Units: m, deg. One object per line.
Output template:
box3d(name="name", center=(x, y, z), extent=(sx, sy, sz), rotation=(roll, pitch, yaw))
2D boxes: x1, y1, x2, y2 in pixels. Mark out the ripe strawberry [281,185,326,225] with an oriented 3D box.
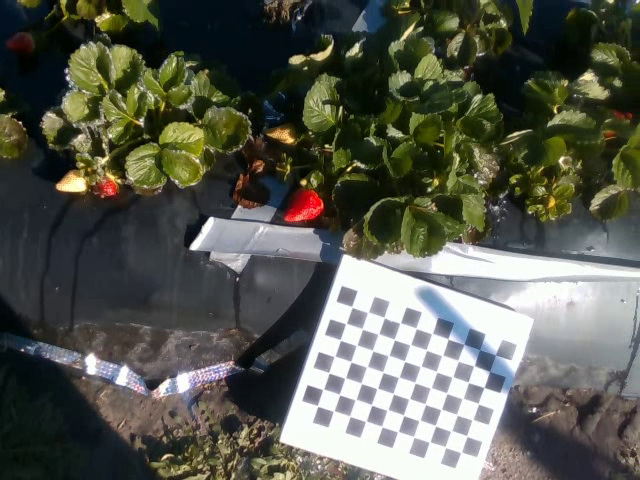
box3d(name="ripe strawberry", center=(-0.026, -0.040, 0.833), extent=(0.057, 0.062, 0.065), rotation=(-30, 12, 42))
